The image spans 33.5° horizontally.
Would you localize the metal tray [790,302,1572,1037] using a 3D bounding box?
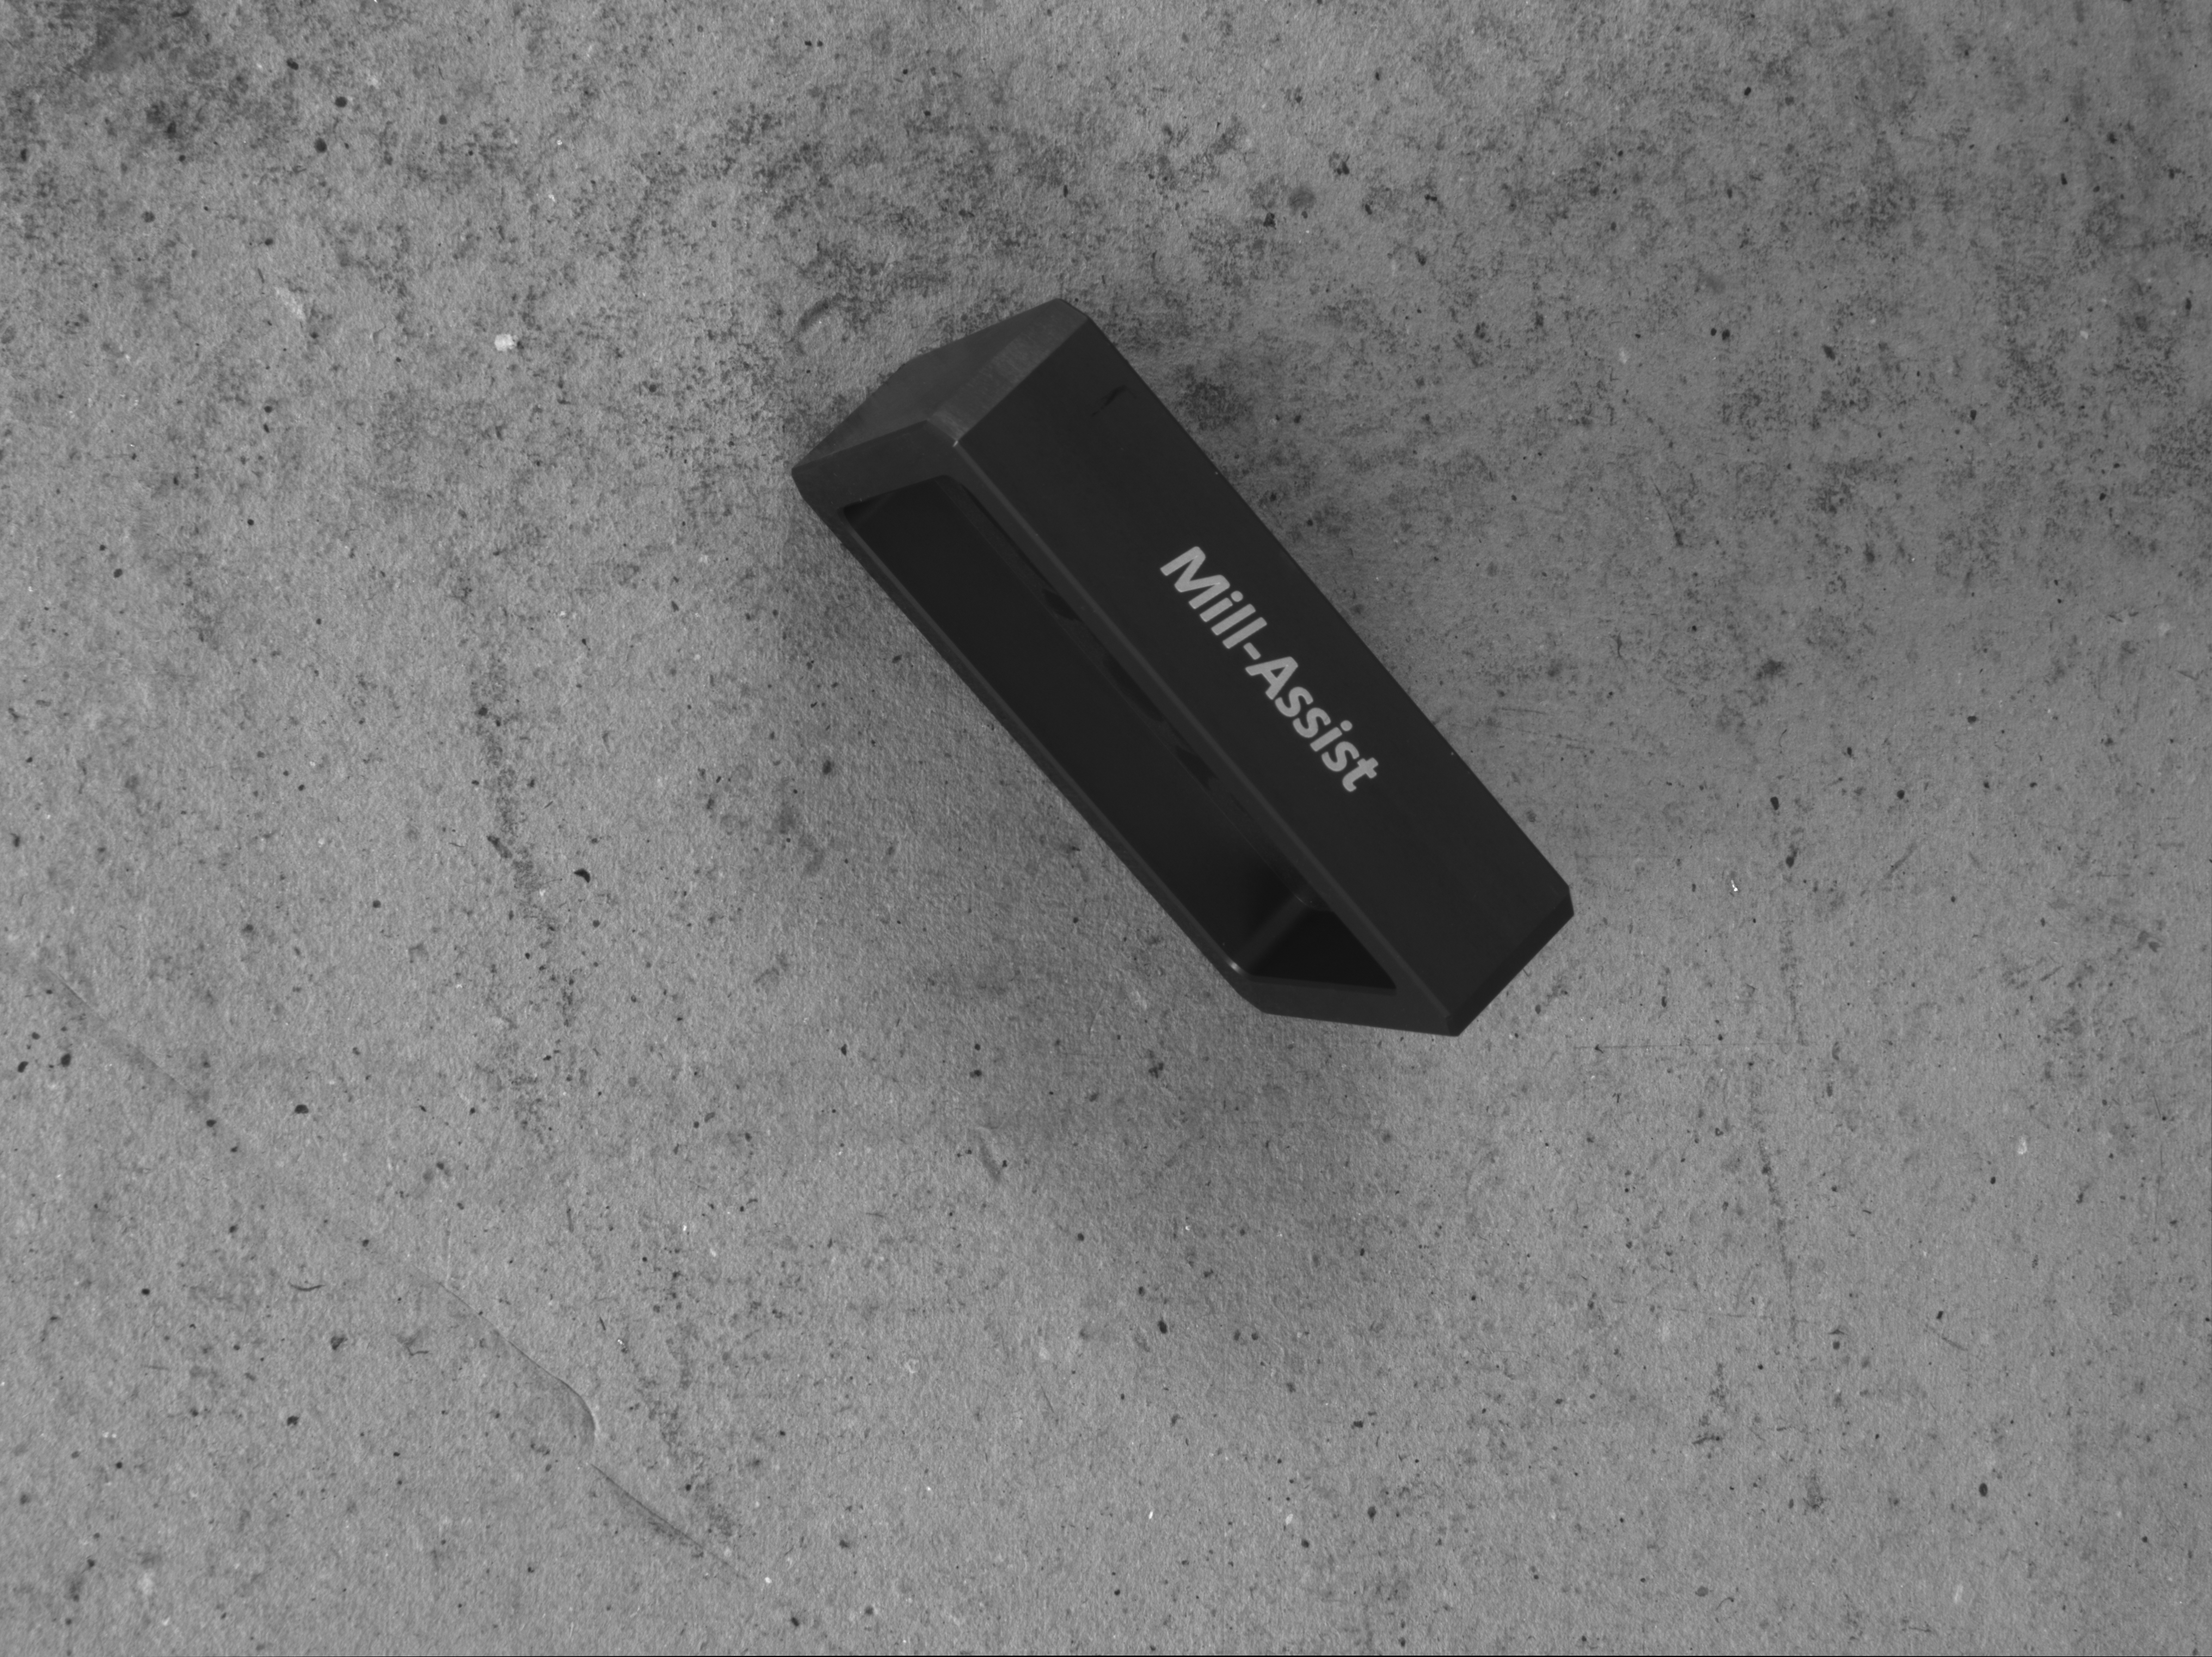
[{"bbox_3d":[0.011,-0.024,0.613,0.030,0.090,0.130,-45,104,-14],"label":"metal tray"}]
